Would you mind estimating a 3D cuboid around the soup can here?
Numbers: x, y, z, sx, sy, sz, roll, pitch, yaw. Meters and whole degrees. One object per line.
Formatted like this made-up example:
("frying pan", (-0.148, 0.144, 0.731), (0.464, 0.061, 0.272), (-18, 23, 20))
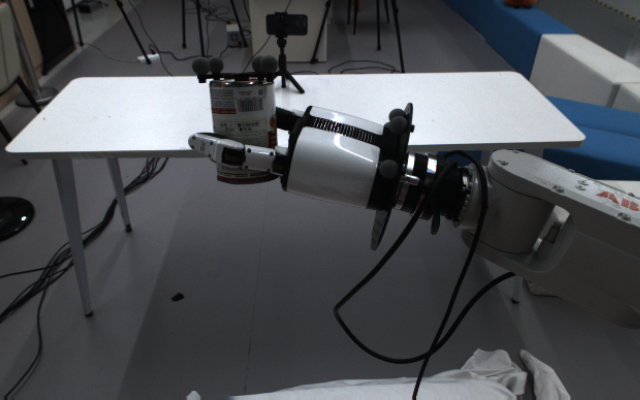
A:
("soup can", (-0.076, -0.072, 0.506), (0.067, 0.101, 0.067), (-2, 17, 0))
